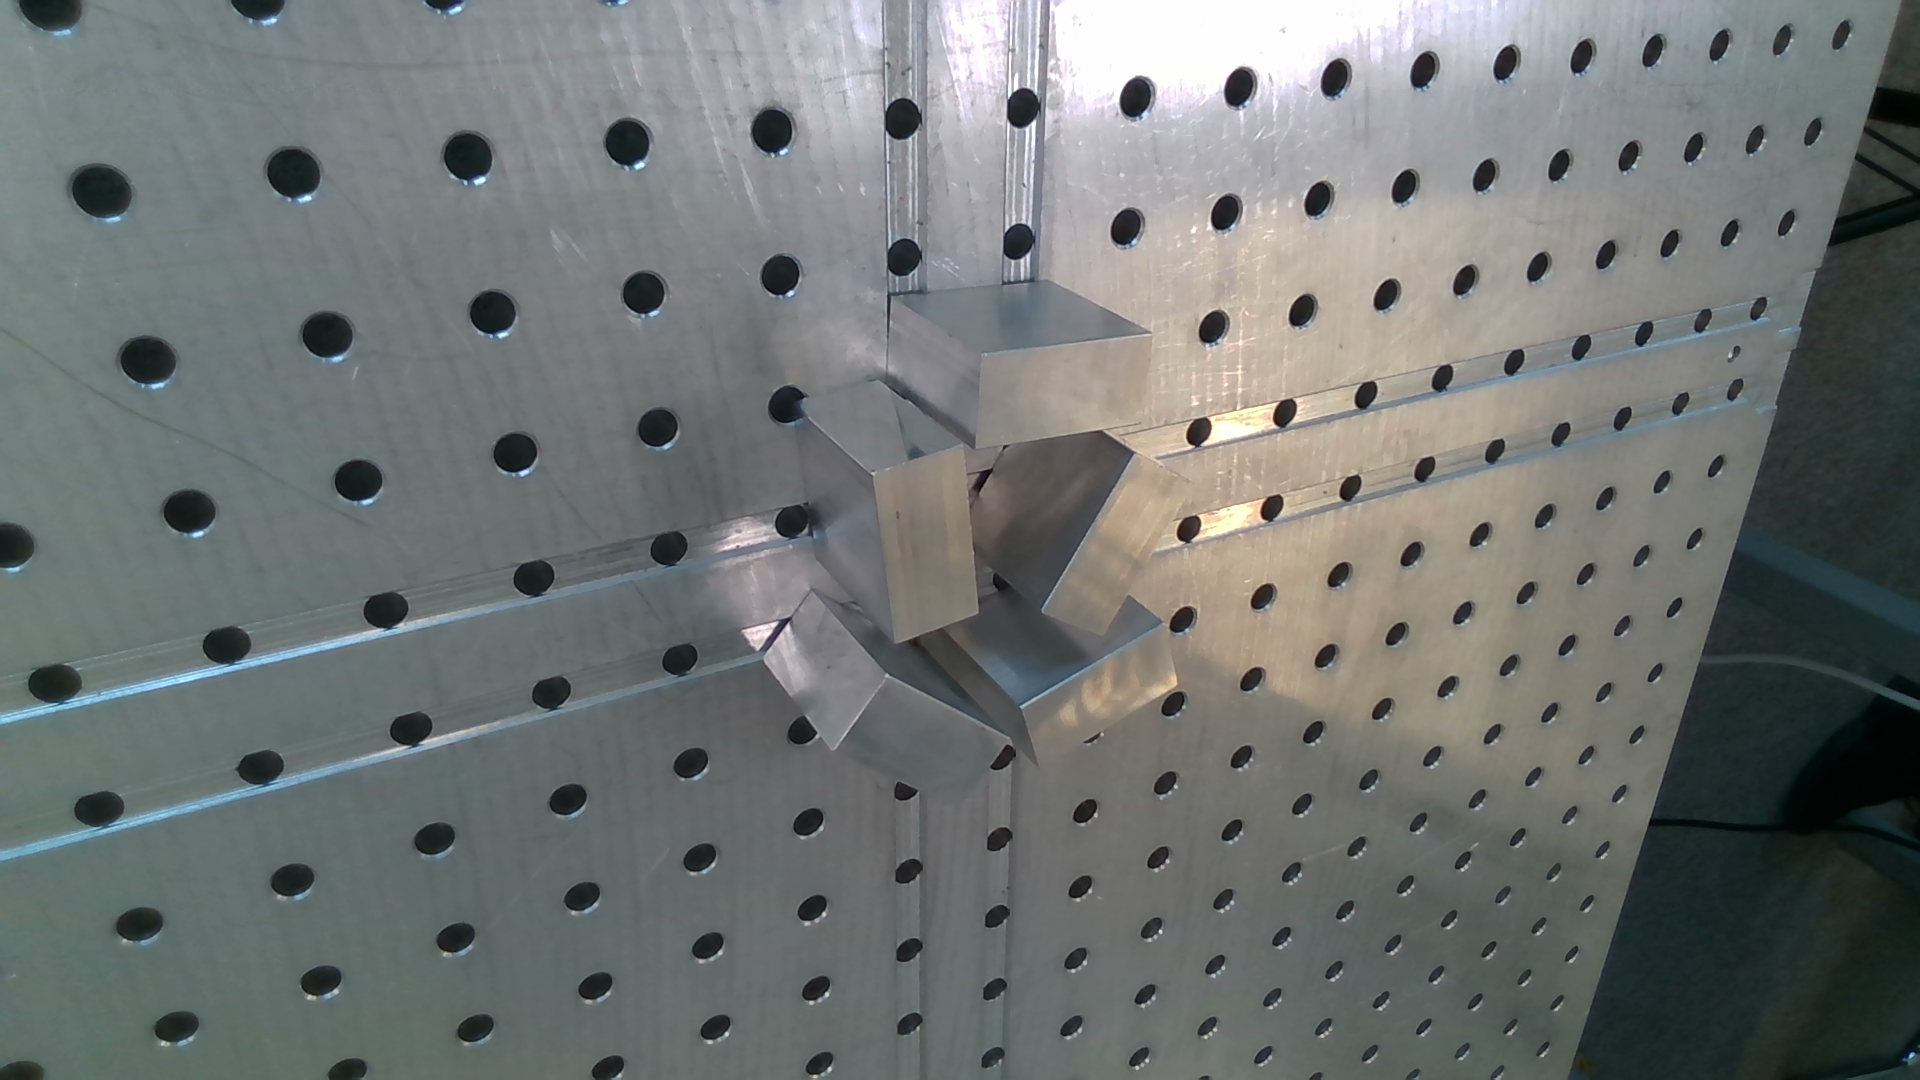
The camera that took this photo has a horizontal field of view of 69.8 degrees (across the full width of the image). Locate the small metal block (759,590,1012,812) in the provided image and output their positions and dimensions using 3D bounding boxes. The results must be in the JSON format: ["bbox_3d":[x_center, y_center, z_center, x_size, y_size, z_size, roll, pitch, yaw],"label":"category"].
[{"bbox_3d":[-0.021,0.045,0.386,0.050,0.050,0.025,33,94,-39],"label":"small metal block"}]

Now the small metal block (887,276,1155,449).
[{"bbox_3d":[0.014,-0.048,0.359,0.050,0.050,0.025,-11,120,-26],"label":"small metal block"}]

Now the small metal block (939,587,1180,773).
[{"bbox_3d":[0.029,0.035,0.412,0.050,0.050,0.025,-29,127,-16],"label":"small metal block"}]

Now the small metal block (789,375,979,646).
[{"bbox_3d":[-0.020,-0.009,0.358,0.025,0.050,0.050,-19,124,-22],"label":"small metal block"}]

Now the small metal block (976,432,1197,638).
[{"bbox_3d":[0.031,-0.008,0.390,0.025,0.050,0.050,22,102,-37],"label":"small metal block"}]
